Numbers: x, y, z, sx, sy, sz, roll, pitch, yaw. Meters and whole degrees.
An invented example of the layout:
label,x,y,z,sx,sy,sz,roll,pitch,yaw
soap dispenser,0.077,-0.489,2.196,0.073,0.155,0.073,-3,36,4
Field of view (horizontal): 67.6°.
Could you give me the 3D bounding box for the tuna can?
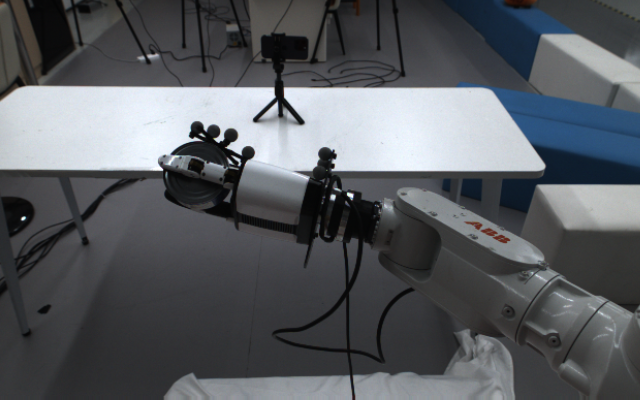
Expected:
label,x,y,z,sx,sy,sz,roll,pitch,yaw
tuna can,-0.157,-0.032,0.633,0.085,0.034,0.085,0,72,0
